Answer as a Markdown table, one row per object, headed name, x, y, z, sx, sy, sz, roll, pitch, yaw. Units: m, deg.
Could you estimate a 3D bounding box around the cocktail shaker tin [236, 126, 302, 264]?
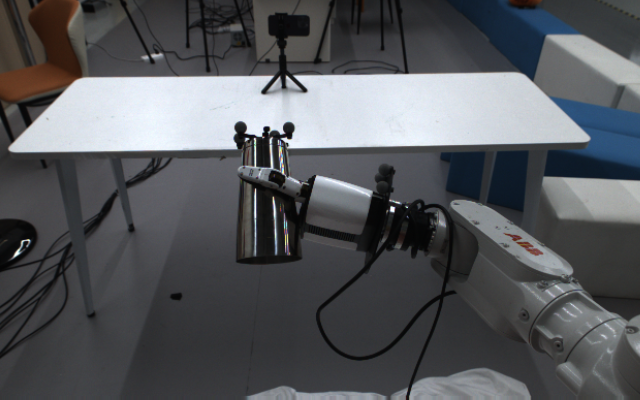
| name | x | y | z | sx | sy | sz | roll | pitch | yaw |
| --- | --- | --- | --- | --- | --- | --- | --- | --- | --- |
| cocktail shaker tin | -0.076 | 0.001 | 0.688 | 0.093 | 0.093 | 0.170 | -3 | 76 | -7 |
